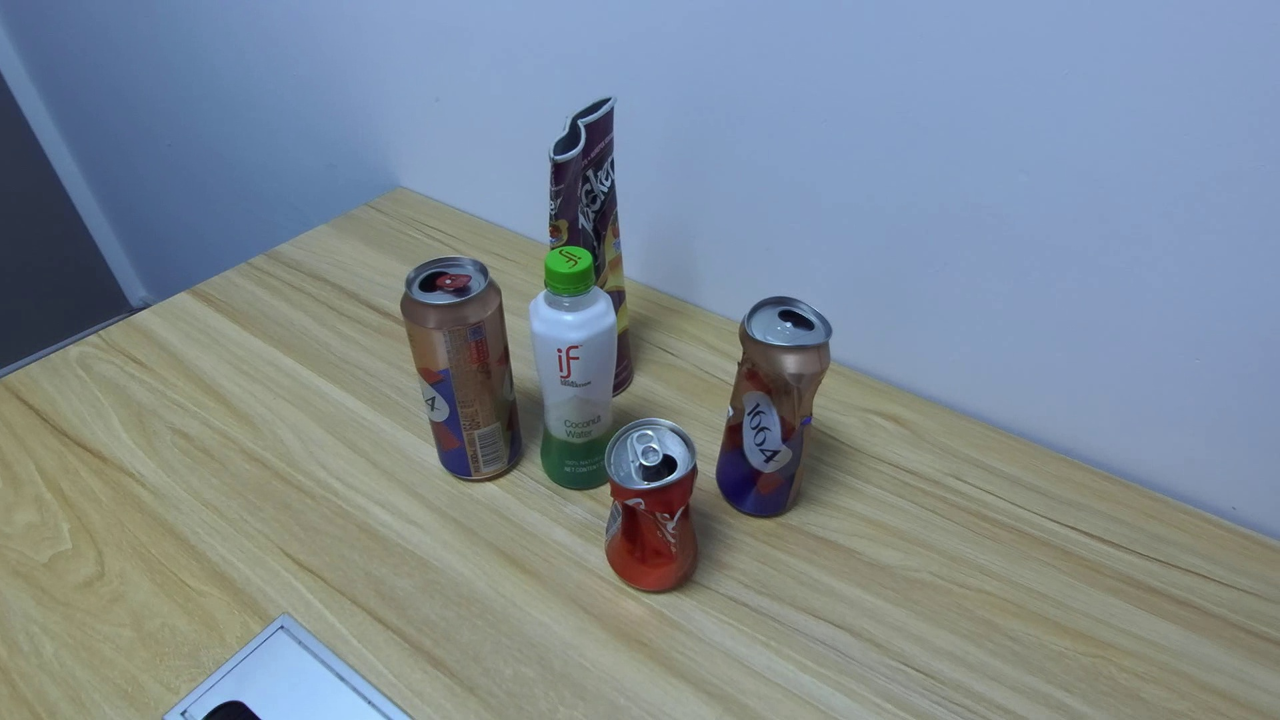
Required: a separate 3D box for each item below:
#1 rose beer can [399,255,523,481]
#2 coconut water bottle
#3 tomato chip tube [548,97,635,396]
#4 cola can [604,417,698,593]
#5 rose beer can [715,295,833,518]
[{"bbox_3d":[-0.127,0.012,0.519,0.068,0.169,0.068,0,39,0],"label":"rose beer can"},{"bbox_3d":[-0.046,0.008,0.502,0.063,0.189,0.063,1,41,0],"label":"coconut water bottle"},{"bbox_3d":[-0.042,-0.073,0.564,0.090,0.236,0.077,-20,45,-25],"label":"tomato chip tube"},{"bbox_3d":[0.008,0.094,0.463,0.065,0.112,0.069,12,42,13],"label":"cola can"},{"bbox_3d":[0.090,0.037,0.493,0.073,0.162,0.068,29,47,28],"label":"rose beer can"}]
